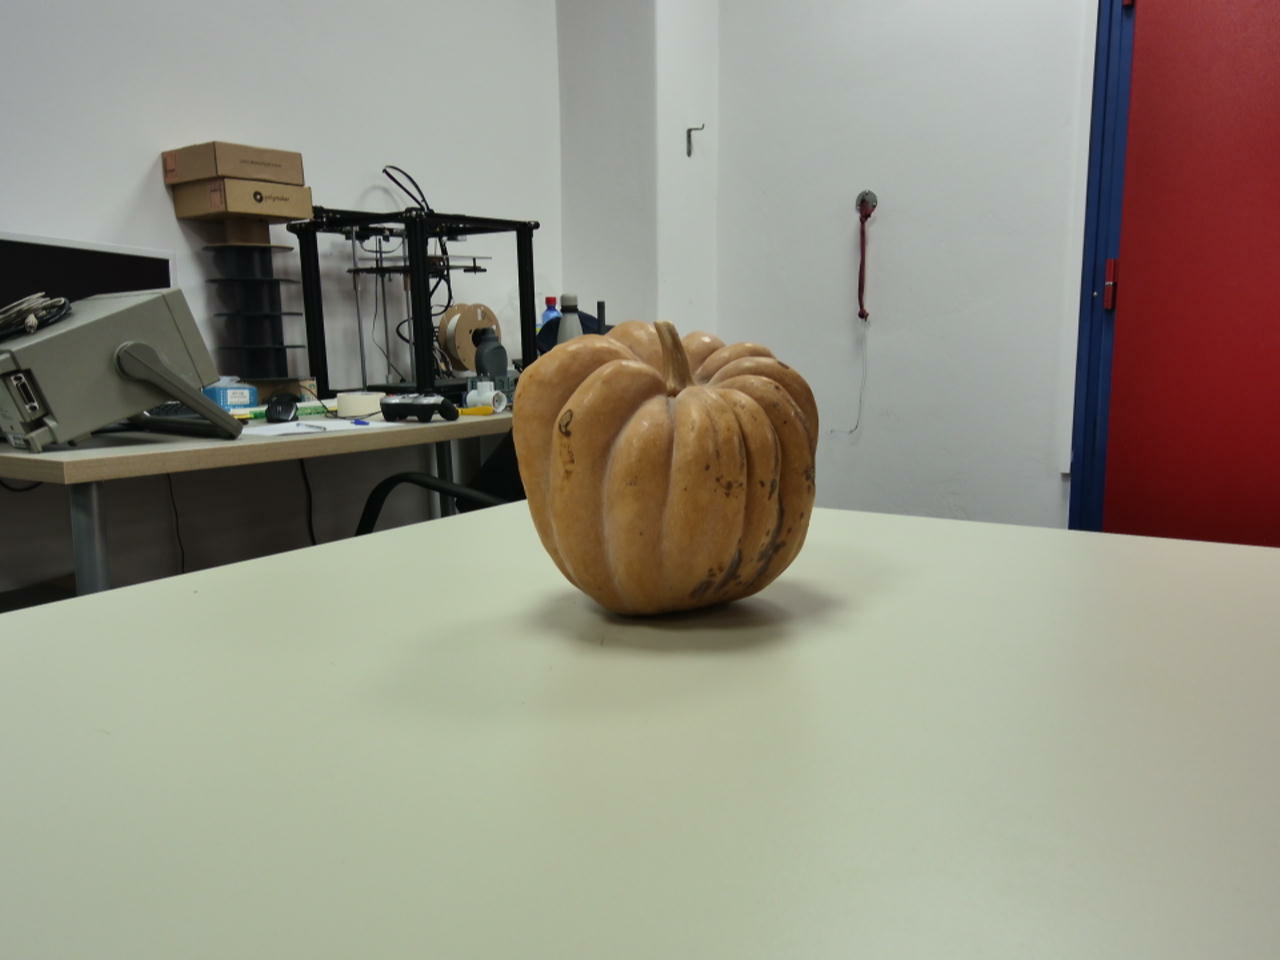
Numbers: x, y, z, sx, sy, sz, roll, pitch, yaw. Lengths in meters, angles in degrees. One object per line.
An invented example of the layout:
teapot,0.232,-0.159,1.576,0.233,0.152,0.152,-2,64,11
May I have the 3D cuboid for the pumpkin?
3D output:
pumpkin,0.015,-0.009,0.619,0.199,0.177,0.198,-1,7,0
